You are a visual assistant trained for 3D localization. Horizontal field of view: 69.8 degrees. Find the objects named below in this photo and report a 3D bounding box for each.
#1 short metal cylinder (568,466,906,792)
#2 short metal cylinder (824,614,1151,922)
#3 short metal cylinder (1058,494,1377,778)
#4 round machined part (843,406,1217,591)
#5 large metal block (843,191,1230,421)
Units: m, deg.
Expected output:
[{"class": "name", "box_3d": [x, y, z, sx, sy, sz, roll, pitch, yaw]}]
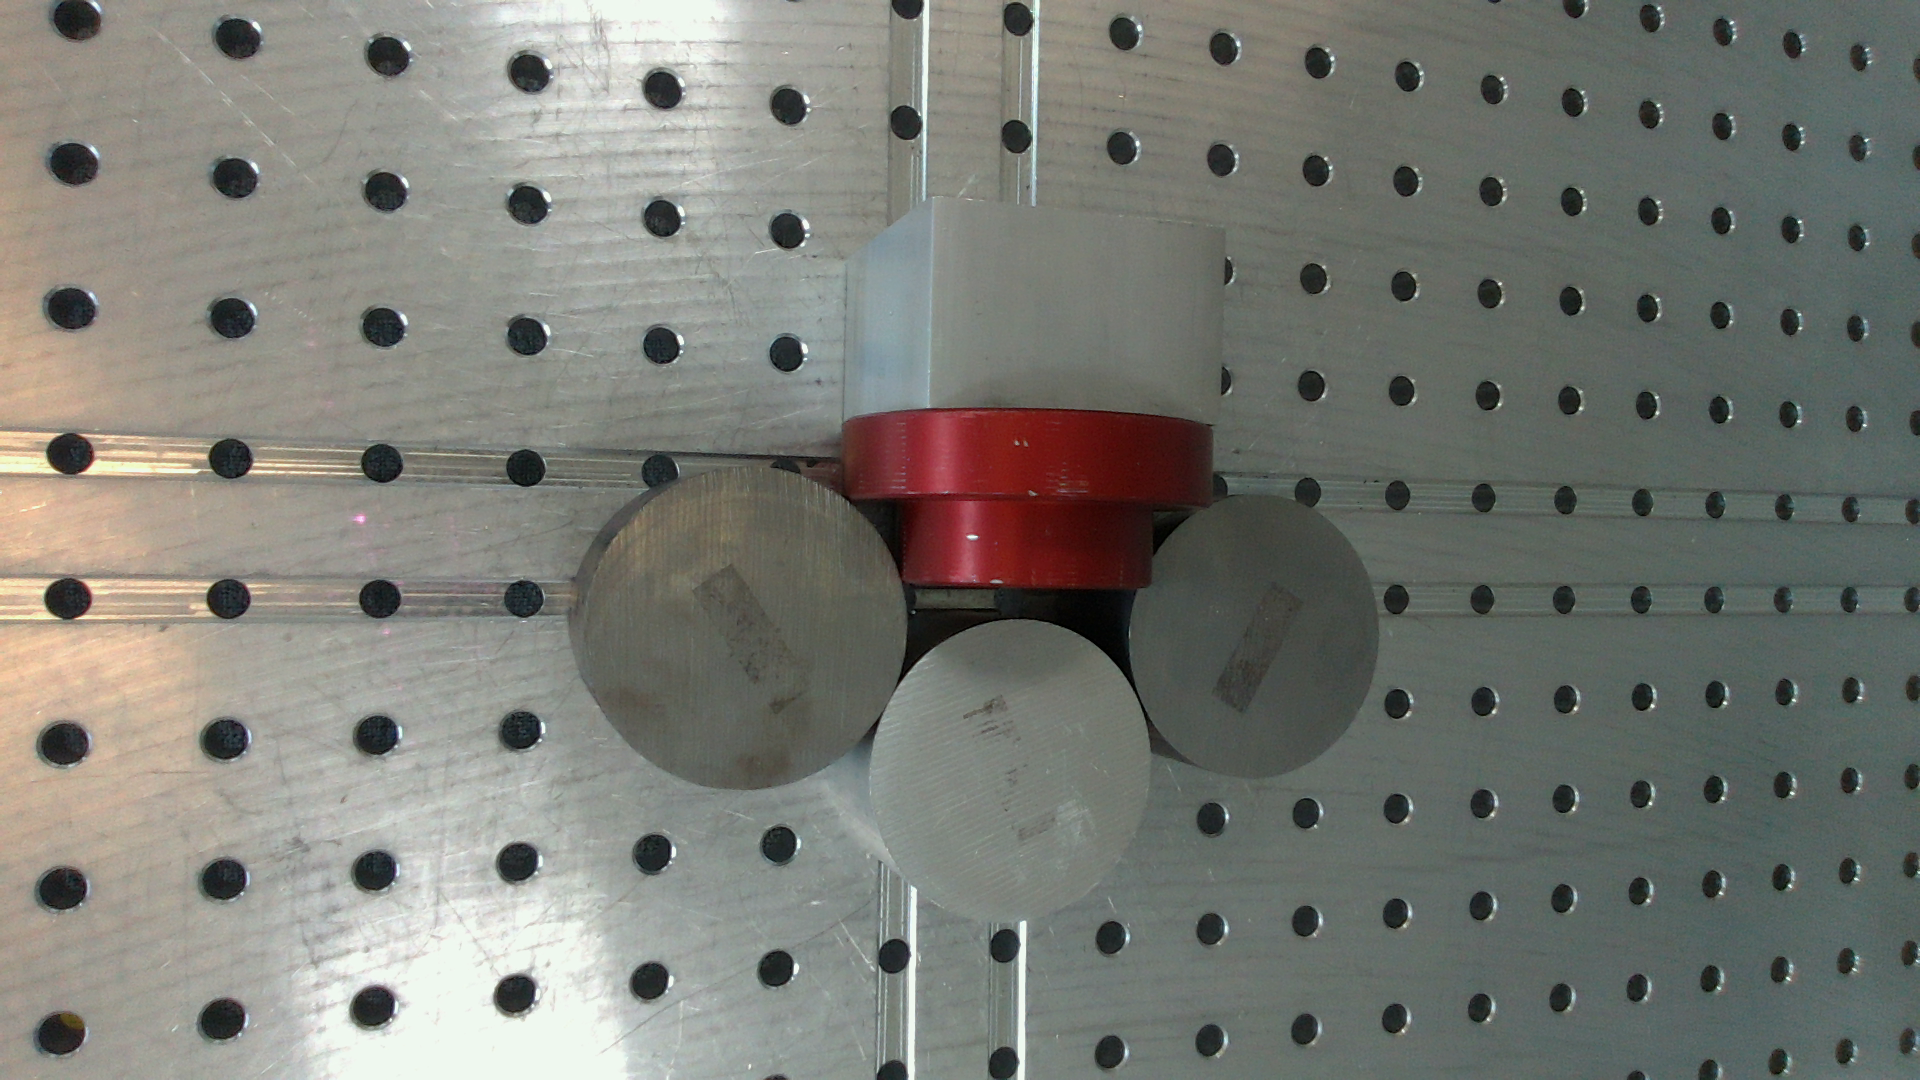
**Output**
[{"class": "short metal cylinder", "box_3d": [-0.060, 0.022, 0.361, 0.080, 0.050, 0.080, 0, 90, -20]}, {"class": "short metal cylinder", "box_3d": [0.006, 0.060, 0.385, 0.080, 0.050, 0.080, 0, 90, -20]}, {"class": "short metal cylinder", "box_3d": [0.075, 0.027, 0.411, 0.080, 0.050, 0.080, 0, 90, -20]}, {"class": "round machined part", "box_3d": [0.018, -0.009, 0.362, 0.098, 0.098, 0.042, 2, 89, -20]}, {"class": "large metal block", "box_3d": [0.017, -0.056, 0.372, 0.080, 0.080, 0.050, 1, 90, -20]}]
